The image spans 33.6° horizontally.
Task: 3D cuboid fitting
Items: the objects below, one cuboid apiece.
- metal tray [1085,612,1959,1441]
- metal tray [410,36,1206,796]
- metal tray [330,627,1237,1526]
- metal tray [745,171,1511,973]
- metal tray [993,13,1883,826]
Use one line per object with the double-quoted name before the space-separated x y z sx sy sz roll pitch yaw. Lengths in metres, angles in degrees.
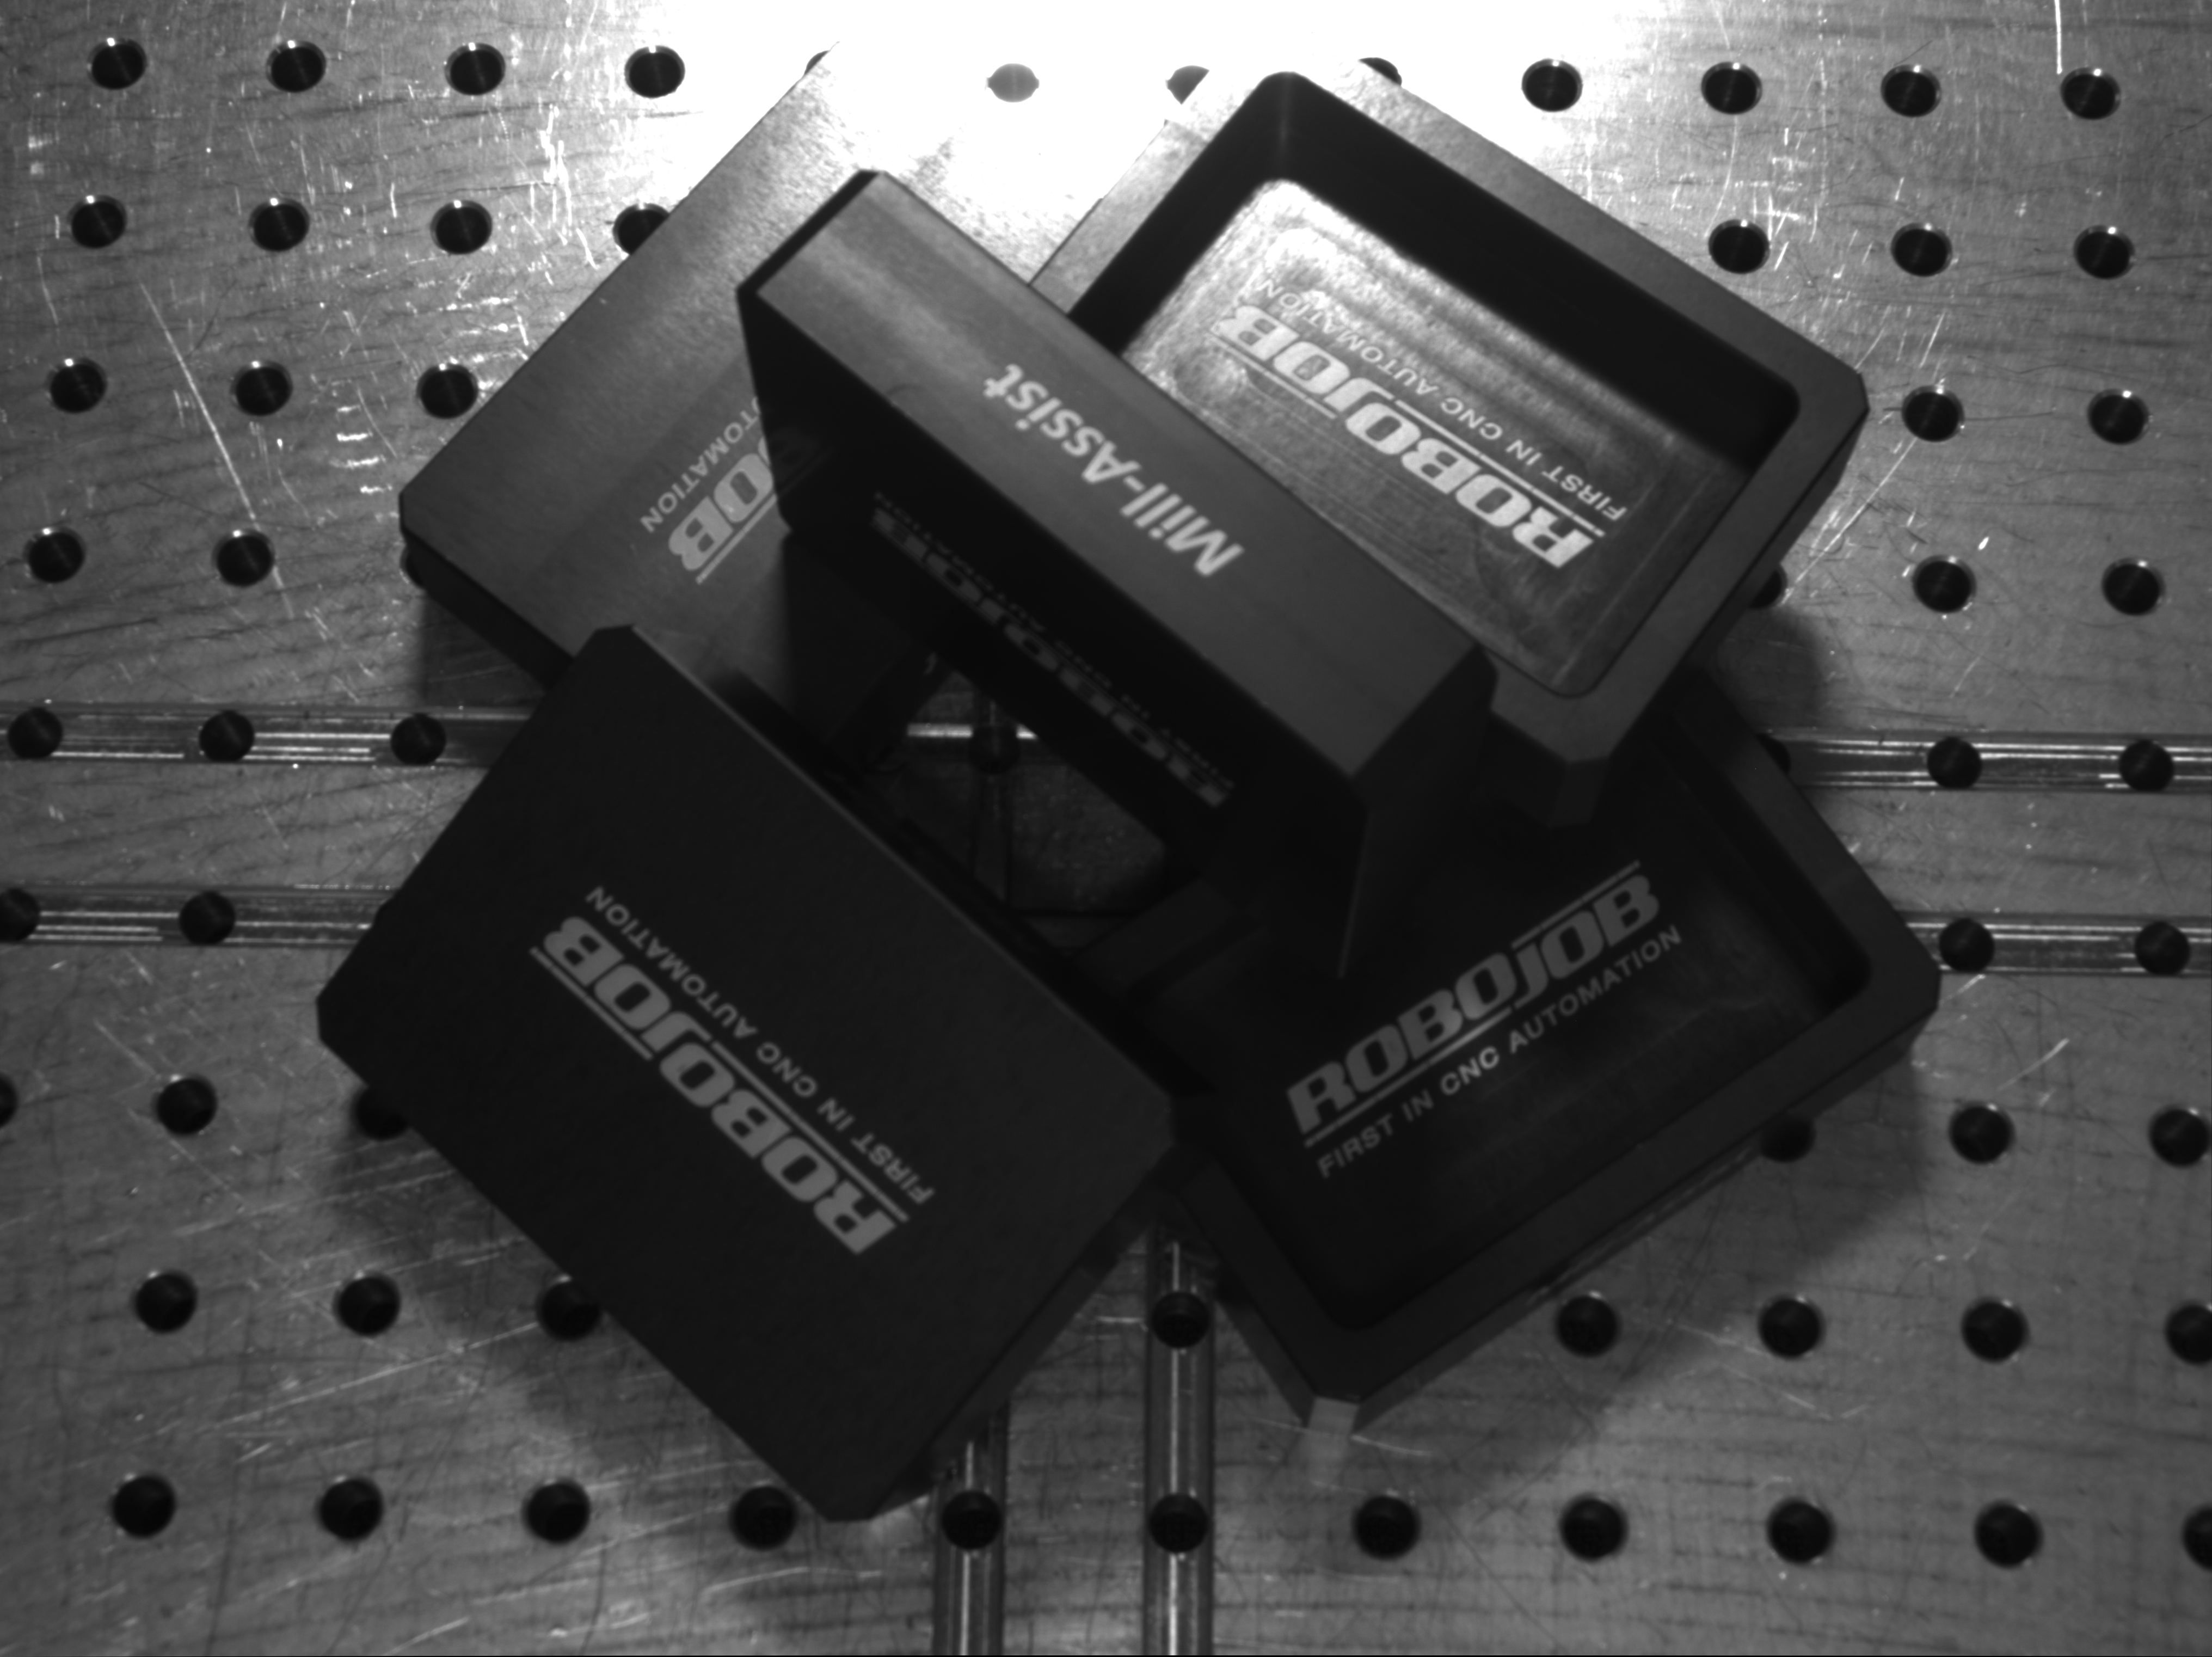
"metal tray" 0.068 0.033 0.631 0.130 0.030 0.090 -32 73 -11
"metal tray" -0.051 -0.072 0.670 0.090 0.030 0.130 37 74 12
"metal tray" -0.055 0.040 0.610 0.130 0.030 0.090 41 100 14
"metal tray" 0.002 -0.040 0.594 0.130 0.090 0.030 39 75 13
"metal tray" 0.056 -0.073 0.639 0.130 0.030 0.090 35 73 12
